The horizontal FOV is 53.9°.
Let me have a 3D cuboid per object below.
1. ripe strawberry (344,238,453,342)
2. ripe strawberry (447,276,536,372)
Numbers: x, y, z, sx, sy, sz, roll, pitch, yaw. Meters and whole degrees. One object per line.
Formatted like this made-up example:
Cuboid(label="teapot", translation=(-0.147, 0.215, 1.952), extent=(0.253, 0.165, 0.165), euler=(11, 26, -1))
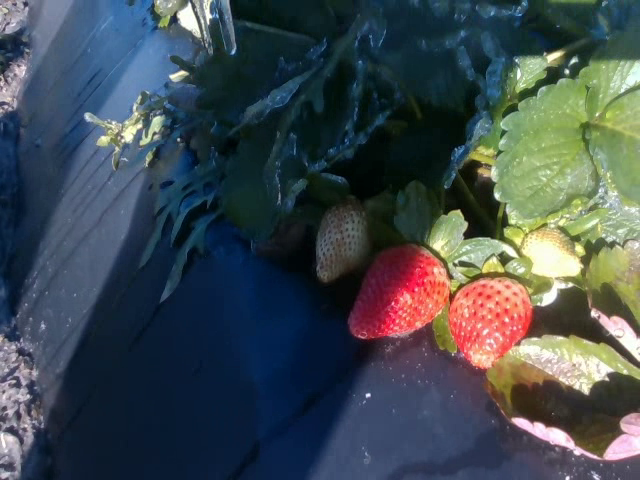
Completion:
Cuboid(label="ripe strawberry", translation=(0.027, 0.026, 0.249), extent=(0.036, 0.040, 0.051), euler=(12, 34, 40))
Cuboid(label="ripe strawberry", translation=(0.066, 0.033, 0.240), extent=(0.036, 0.041, 0.030), euler=(-15, -40, 29))
